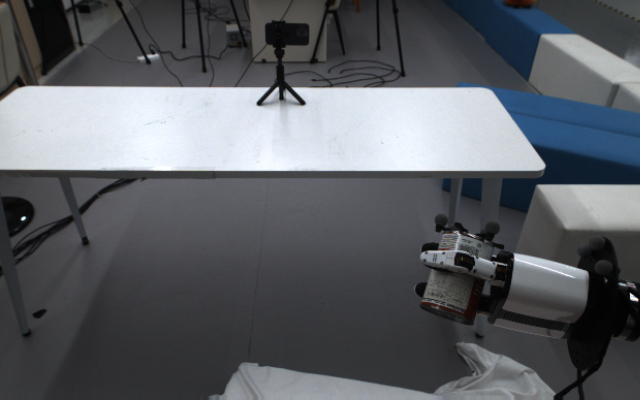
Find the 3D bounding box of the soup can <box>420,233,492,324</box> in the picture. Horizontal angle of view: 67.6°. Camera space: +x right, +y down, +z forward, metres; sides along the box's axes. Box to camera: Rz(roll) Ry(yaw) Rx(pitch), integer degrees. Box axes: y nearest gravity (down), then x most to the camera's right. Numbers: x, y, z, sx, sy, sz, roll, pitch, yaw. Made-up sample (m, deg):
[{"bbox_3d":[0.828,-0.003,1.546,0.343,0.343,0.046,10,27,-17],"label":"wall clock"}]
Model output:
[{"bbox_3d":[0.174,0.094,0.611,0.067,0.067,0.101,16,75,19],"label":"soup can"}]
